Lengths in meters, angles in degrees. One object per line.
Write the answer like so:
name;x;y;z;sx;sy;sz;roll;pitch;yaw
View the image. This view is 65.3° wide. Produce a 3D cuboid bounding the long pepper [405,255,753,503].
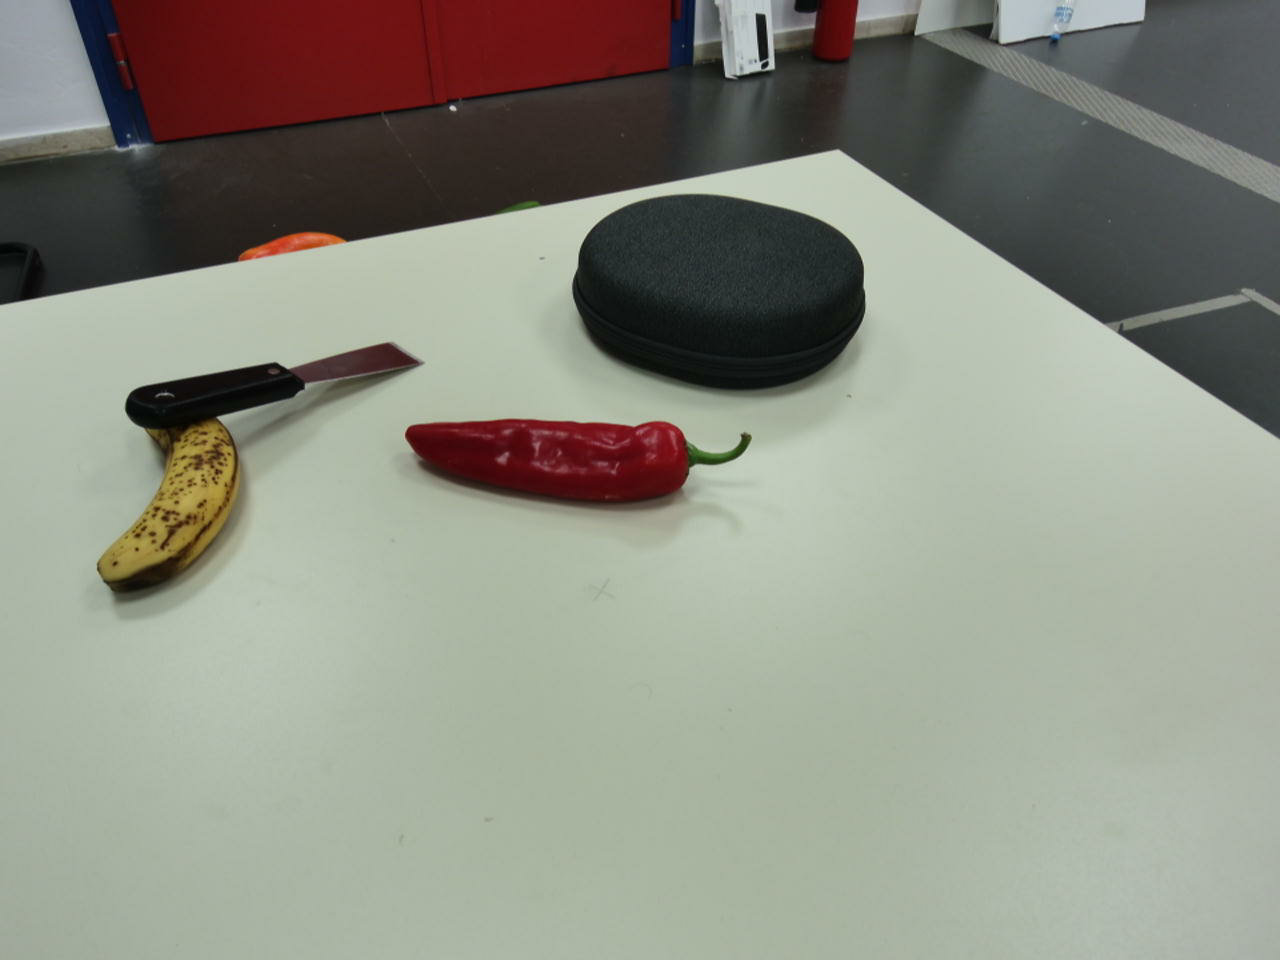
long pepper;-0.041;-0.016;0.591;0.211;0.043;0.050;5;39;6
